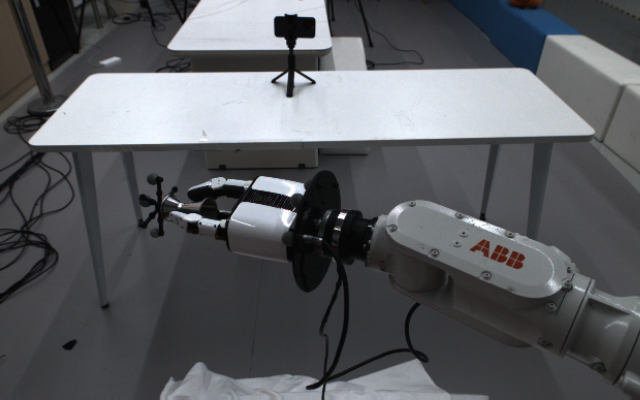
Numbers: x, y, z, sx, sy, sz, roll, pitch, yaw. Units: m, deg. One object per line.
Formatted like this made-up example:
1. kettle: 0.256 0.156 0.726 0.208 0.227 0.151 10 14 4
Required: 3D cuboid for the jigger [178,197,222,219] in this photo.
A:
1. jigger: -0.182 0.012 0.693 0.071 0.043 0.043 6 34 20
